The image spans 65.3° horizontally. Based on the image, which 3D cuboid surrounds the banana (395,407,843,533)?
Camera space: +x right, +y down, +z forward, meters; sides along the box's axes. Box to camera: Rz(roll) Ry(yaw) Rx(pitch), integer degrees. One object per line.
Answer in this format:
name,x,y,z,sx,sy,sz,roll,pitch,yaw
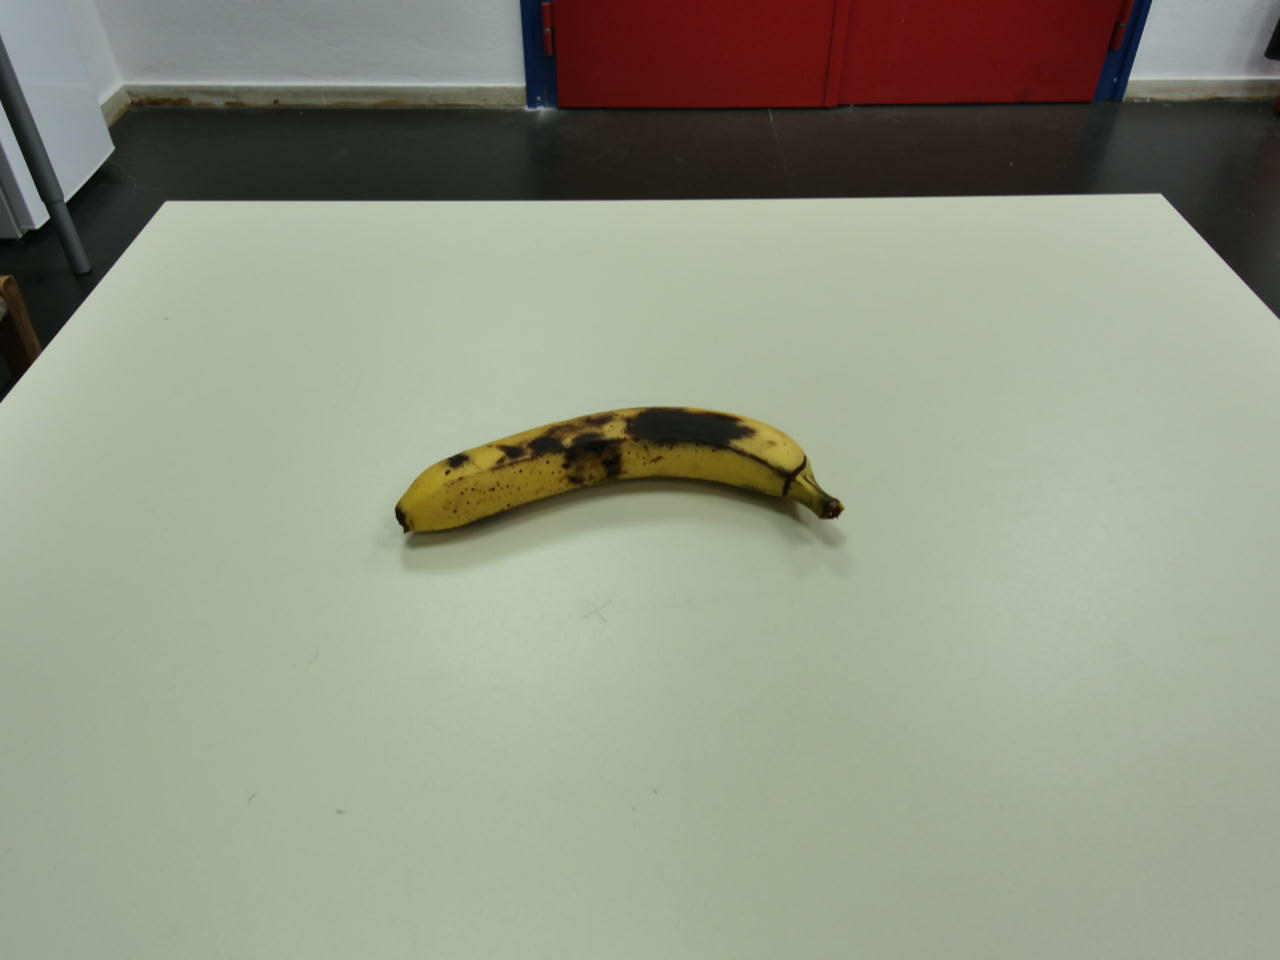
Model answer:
banana,-0.011,-0.007,0.522,0.222,0.037,0.084,0,39,0
